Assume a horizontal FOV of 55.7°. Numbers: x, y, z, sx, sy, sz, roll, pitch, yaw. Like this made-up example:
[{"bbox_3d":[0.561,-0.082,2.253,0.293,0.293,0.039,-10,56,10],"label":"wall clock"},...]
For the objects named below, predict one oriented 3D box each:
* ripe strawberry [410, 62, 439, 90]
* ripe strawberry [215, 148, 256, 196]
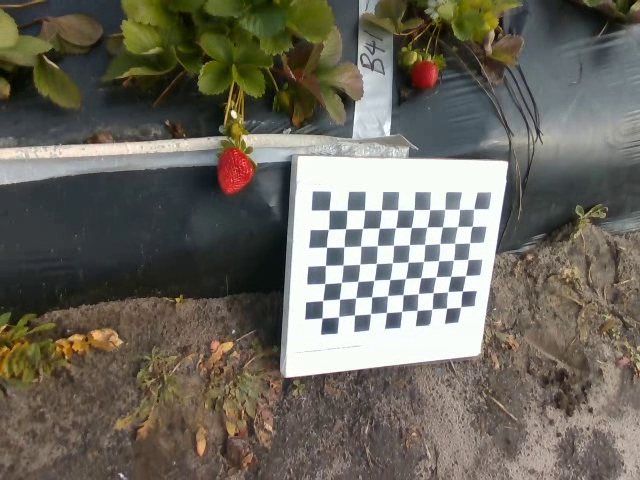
[{"bbox_3d":[0.125,-0.192,0.696,0.037,0.048,0.031,13,-45,-24],"label":"ripe strawberry"},{"bbox_3d":[-0.086,-0.067,0.593,0.047,0.053,0.030,41,-28,-27],"label":"ripe strawberry"}]
